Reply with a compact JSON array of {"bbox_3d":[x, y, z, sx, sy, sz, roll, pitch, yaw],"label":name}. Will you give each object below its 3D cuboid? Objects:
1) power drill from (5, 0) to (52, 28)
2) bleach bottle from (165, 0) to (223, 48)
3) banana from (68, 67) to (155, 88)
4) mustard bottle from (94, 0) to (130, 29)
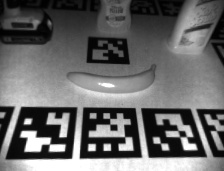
[{"bbox_3d":[-0.177,-0.218,0.461,0.185,0.188,0.057,-7,52,-6],"label":"power drill"},{"bbox_3d":[0.202,-0.203,0.492,0.102,0.251,0.067,6,51,0],"label":"bleach bottle"},{"bbox_3d":[0.009,-0.027,0.453,0.198,0.039,0.074,-5,54,-7],"label":"banana"},{"bbox_3d":[0.007,-0.234,0.535,0.097,0.192,0.058,-6,52,-12],"label":"mustard bottle"}]
